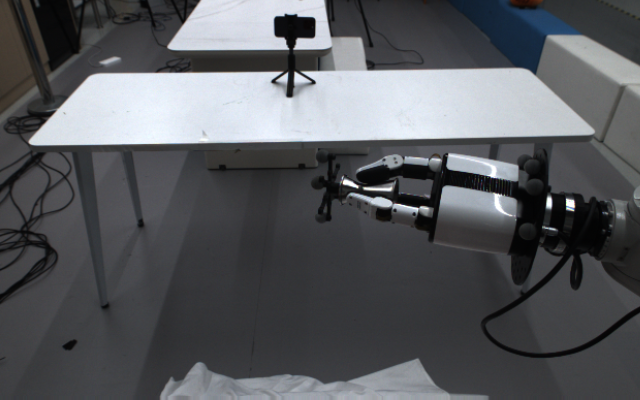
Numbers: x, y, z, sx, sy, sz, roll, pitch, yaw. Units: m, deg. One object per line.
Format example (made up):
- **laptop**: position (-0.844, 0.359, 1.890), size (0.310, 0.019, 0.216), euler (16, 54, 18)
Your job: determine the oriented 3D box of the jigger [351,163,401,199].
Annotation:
- **jigger**: position (0.068, -0.012, 0.604), size (0.071, 0.043, 0.043), euler (7, 35, 16)
